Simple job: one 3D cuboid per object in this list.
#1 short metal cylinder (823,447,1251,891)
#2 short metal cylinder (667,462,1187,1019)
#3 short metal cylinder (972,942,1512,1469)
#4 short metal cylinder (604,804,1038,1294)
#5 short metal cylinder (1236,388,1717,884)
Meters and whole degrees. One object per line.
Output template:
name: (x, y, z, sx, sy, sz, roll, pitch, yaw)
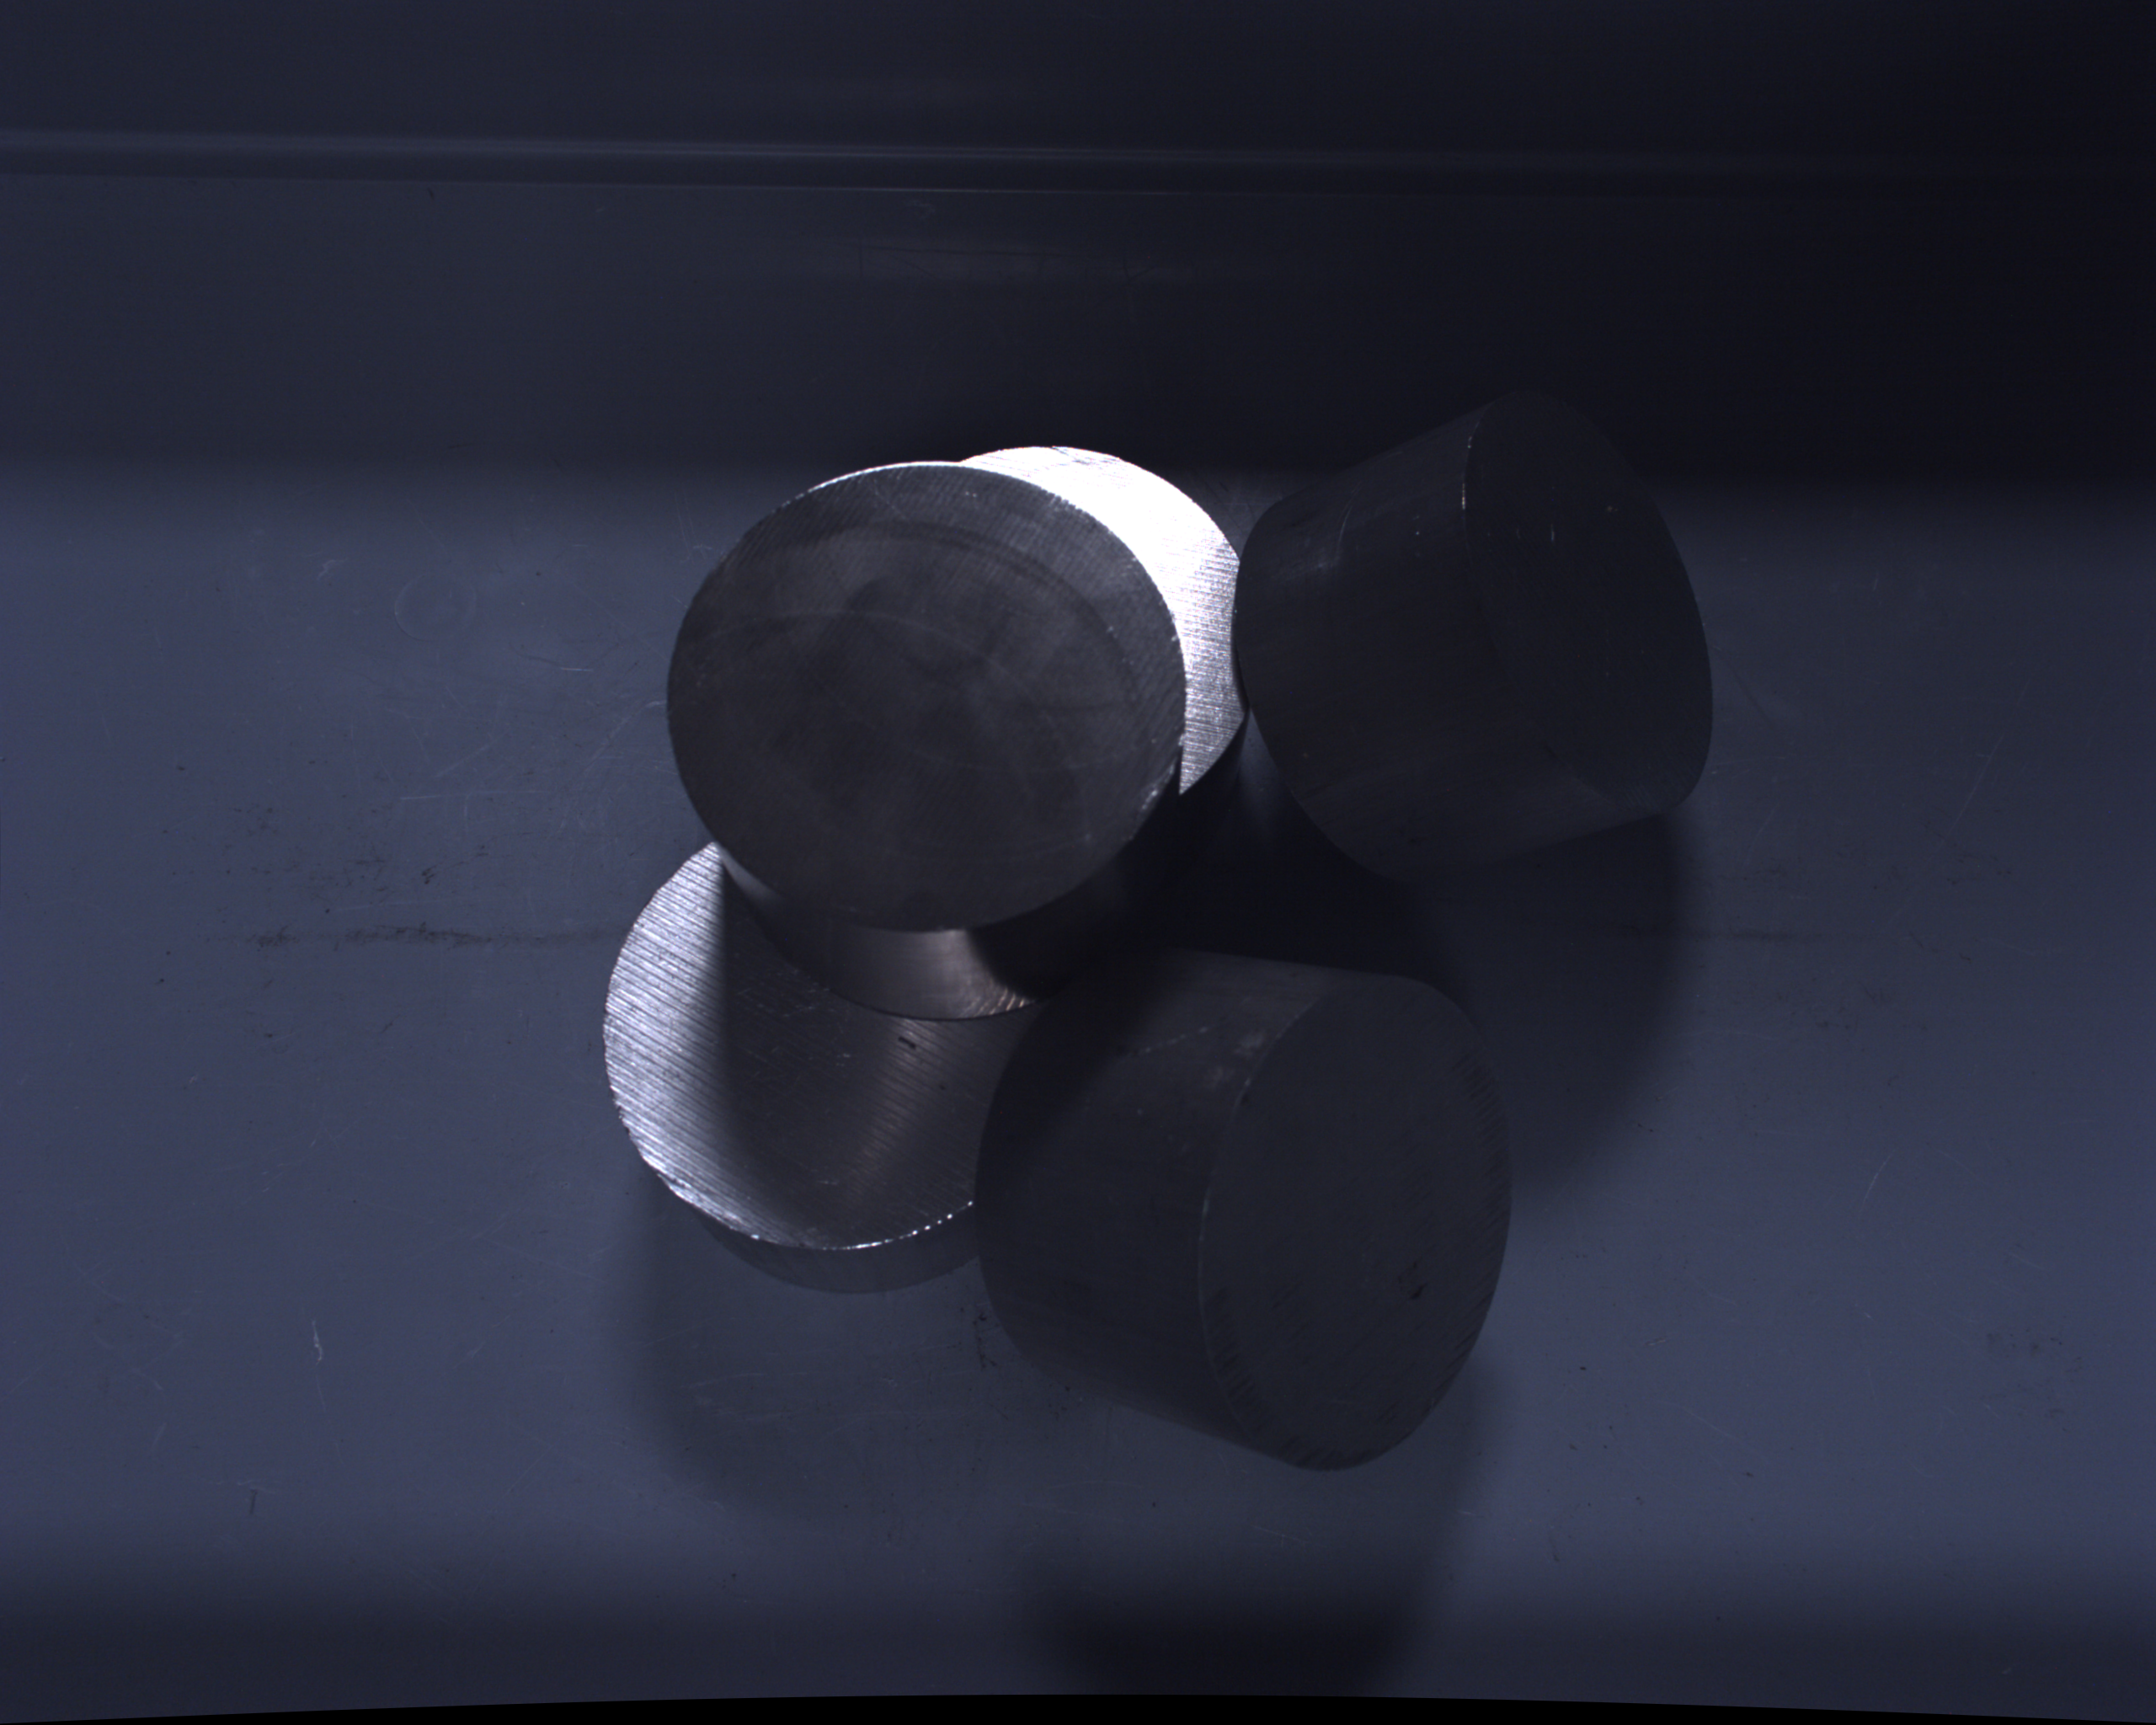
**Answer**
short metal cylinder: (-0.007, -0.033, 0.406, 0.081, 0.050, 0.080, 0, 70, 0)
short metal cylinder: (-0.023, -0.019, 0.347, 0.081, 0.050, 0.080, 0, 70, 0)
short metal cylinder: (0.029, 0.055, 0.352, 0.050, 0.080, 0.080, 5, 63, 45)
short metal cylinder: (-0.041, 0.035, 0.382, 0.081, 0.050, 0.080, 0, 70, 0)
short metal cylinder: (0.075, -0.041, 0.389, 0.080, 0.050, 0.080, 20, 61, -40)
